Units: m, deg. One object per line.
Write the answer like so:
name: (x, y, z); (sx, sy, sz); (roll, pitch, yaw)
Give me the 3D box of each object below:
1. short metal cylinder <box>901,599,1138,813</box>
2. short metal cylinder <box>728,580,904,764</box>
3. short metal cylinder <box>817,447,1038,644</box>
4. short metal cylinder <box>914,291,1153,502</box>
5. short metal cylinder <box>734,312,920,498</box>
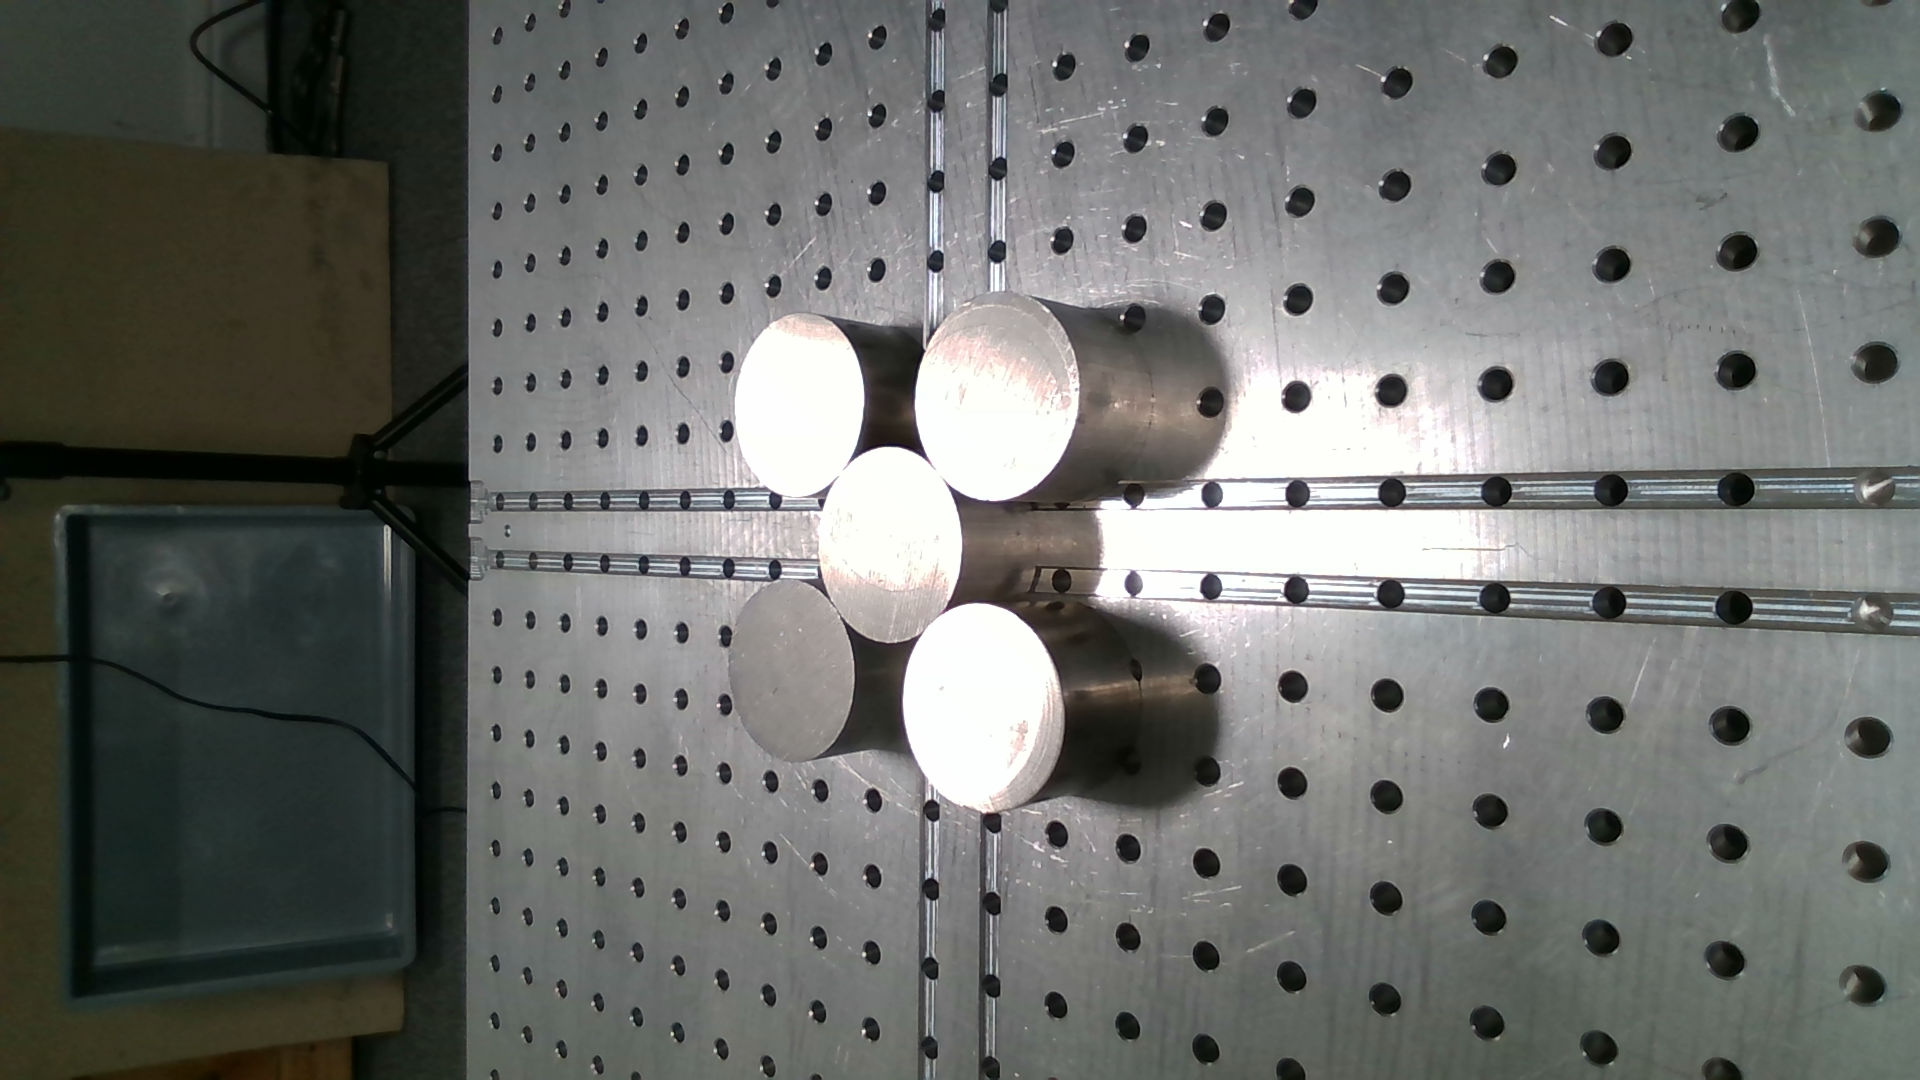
short metal cylinder: (0.023, 0.064, 0.547); (0.080, 0.050, 0.080); (0, 91, 40)
short metal cylinder: (-0.059, 0.057, 0.618); (0.080, 0.050, 0.080); (0, 91, 40)
short metal cylinder: (-0.014, 0.002, 0.580); (0.080, 0.050, 0.080); (0, 91, 40)
short metal cylinder: (0.028, -0.055, 0.543); (0.080, 0.050, 0.080); (0, 91, 40)
short metal cylinder: (-0.055, -0.058, 0.613); (0.080, 0.050, 0.080); (0, 91, 40)
